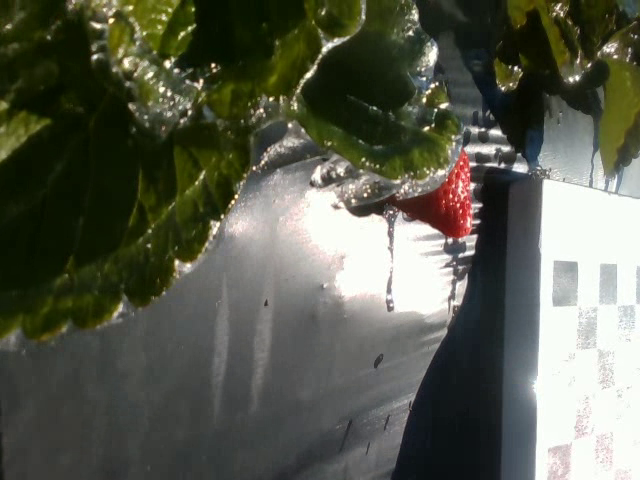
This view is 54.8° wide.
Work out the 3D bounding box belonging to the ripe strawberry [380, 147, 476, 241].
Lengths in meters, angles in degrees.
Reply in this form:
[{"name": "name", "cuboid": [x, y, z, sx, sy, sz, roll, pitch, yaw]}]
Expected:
[{"name": "ripe strawberry", "cuboid": [0.046, -0.021, 0.246, 0.039, 0.053, 0.040, -23, -2, -37]}]
